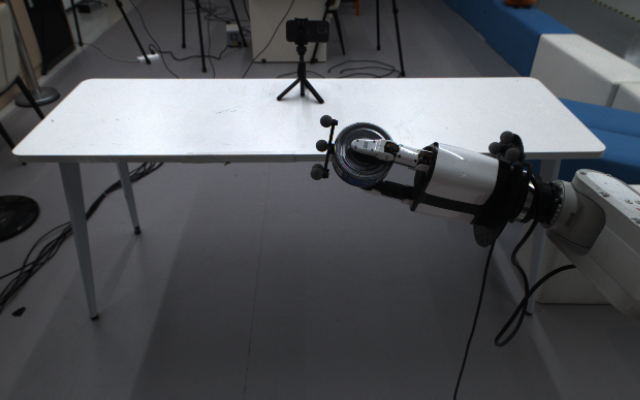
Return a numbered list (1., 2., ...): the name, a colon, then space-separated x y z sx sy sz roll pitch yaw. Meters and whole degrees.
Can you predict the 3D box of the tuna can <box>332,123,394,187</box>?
1. tuna can: 0.063 -0.060 0.667 0.085 0.034 0.085 2 73 -5
